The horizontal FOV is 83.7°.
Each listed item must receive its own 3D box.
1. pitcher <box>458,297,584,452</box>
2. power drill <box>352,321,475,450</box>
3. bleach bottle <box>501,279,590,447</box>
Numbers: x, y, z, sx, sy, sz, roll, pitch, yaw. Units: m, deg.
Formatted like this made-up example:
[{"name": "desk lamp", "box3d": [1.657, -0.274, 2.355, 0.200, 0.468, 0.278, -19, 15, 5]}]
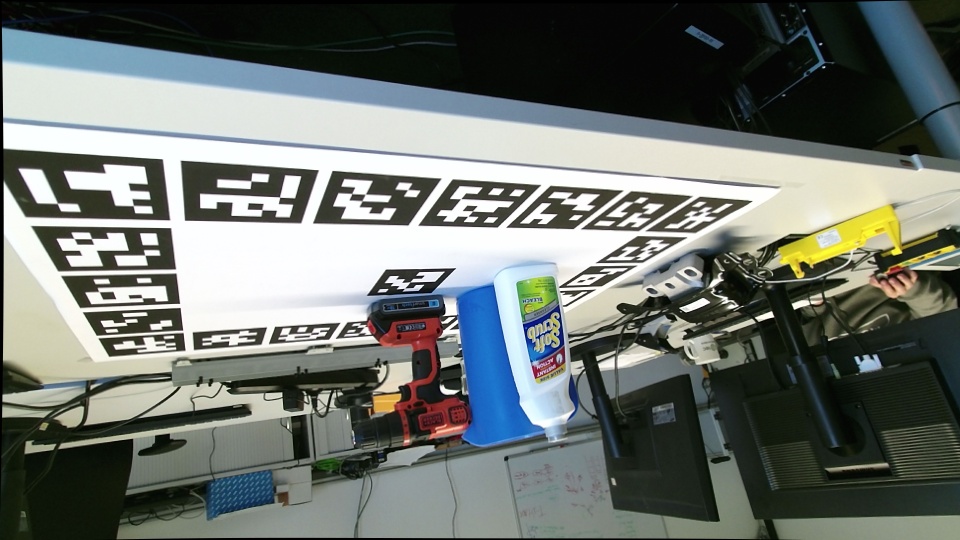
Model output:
[{"name": "pitcher", "box3d": [0.052, 0.168, 0.863, 0.189, 0.241, 0.133, -14, 156, -3]}, {"name": "power drill", "box3d": [-0.107, 0.172, 0.804, 0.185, 0.186, 0.057, 1, 151, -20]}, {"name": "bleach bottle", "box3d": [0.108, 0.140, 0.780, 0.103, 0.249, 0.068, -6, 156, -21]}]
